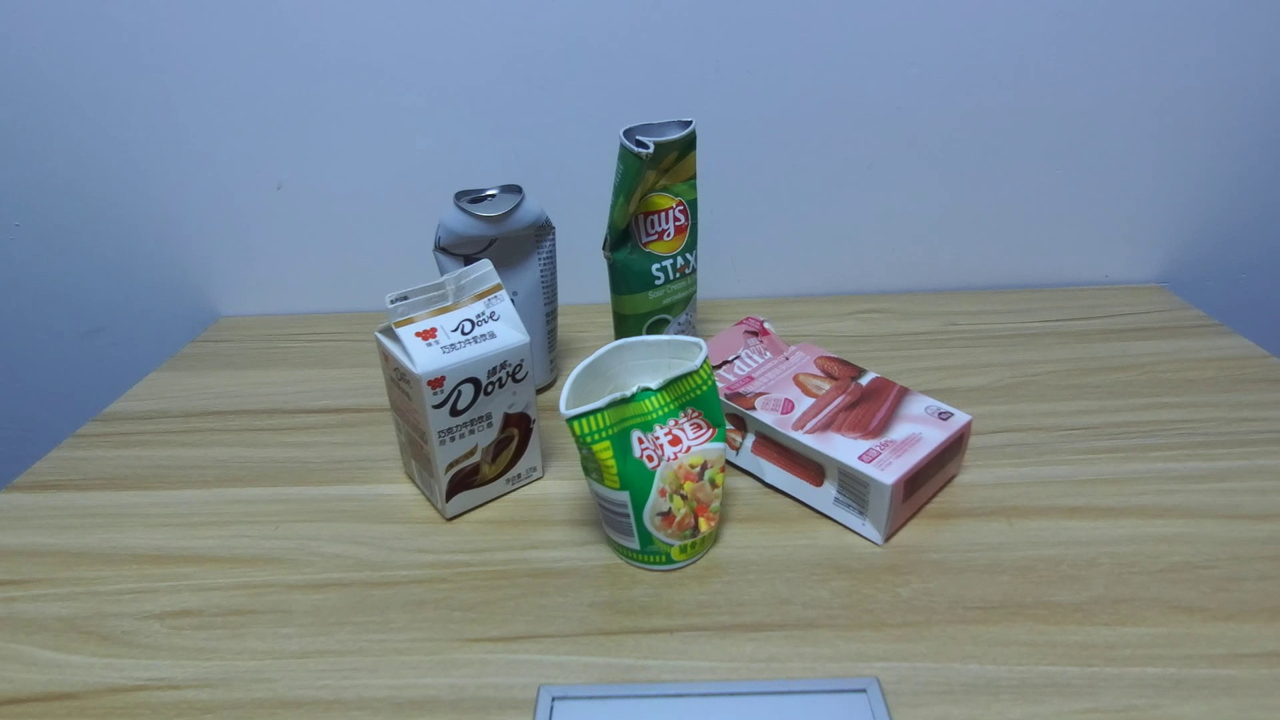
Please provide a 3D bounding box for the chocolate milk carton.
[{"bbox_3d":[-0.115,0.013,0.453,0.076,0.148,0.073,-20,34,-32],"label":"chocolate milk carton"}]

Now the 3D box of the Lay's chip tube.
[{"bbox_3d":[0.011,-0.078,0.550,0.069,0.201,0.077,0,31,5],"label":"Lay's chip tube"}]

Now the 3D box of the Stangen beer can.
[{"bbox_3d":[-0.107,-0.050,0.554,0.065,0.162,0.077,16,32,35],"label":"Stangen beer can"}]

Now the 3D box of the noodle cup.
[{"bbox_3d":[0.010,0.053,0.404,0.083,0.122,0.075,-14,22,1],"label":"noodle cup"}]

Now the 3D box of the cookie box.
[{"bbox_3d":[0.112,0.040,0.481,0.105,0.059,0.185,-28,42,-32],"label":"cookie box"}]
